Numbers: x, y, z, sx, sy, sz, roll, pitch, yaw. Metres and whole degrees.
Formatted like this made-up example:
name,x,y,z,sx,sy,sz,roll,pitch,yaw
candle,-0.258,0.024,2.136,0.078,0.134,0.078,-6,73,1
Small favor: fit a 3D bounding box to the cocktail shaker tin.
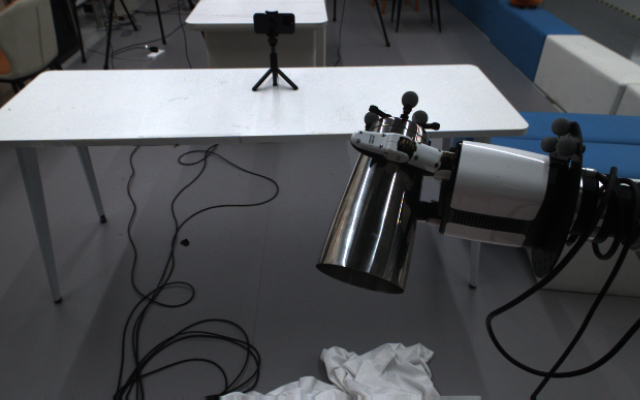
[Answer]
name,x,y,z,sx,sy,sz,roll,pitch,yaw
cocktail shaker tin,0.066,0.000,0.511,0.093,0.093,0.170,13,71,15
